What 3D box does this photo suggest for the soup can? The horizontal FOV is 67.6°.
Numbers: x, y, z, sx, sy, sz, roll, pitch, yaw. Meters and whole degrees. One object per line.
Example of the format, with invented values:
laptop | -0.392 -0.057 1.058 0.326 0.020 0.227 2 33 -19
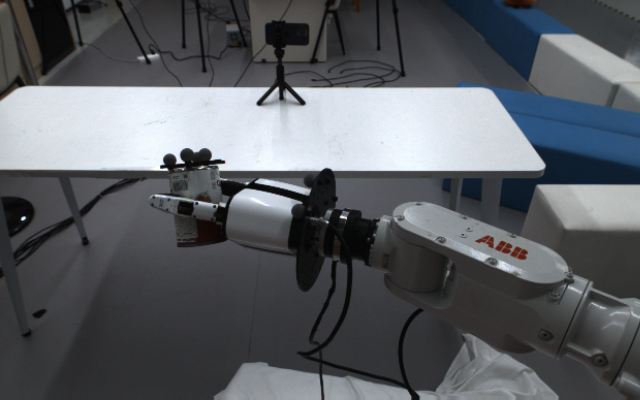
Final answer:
soup can | -0.162 0.009 0.648 0.067 0.101 0.067 -7 3 0
